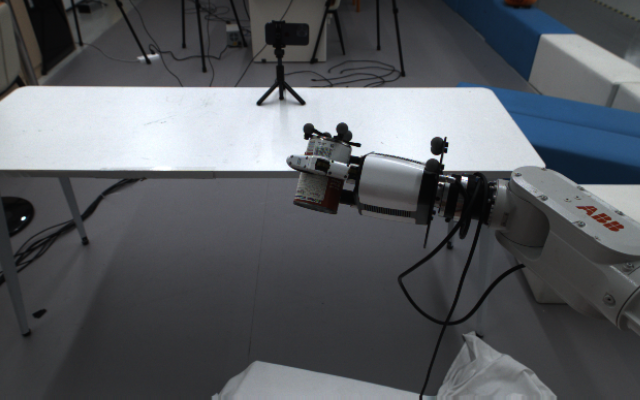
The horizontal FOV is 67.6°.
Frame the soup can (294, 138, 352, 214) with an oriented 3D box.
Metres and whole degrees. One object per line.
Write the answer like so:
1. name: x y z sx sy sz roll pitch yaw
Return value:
1. soup can: 0.005 -0.035 0.714 0.067 0.101 0.067 13 -6 1
